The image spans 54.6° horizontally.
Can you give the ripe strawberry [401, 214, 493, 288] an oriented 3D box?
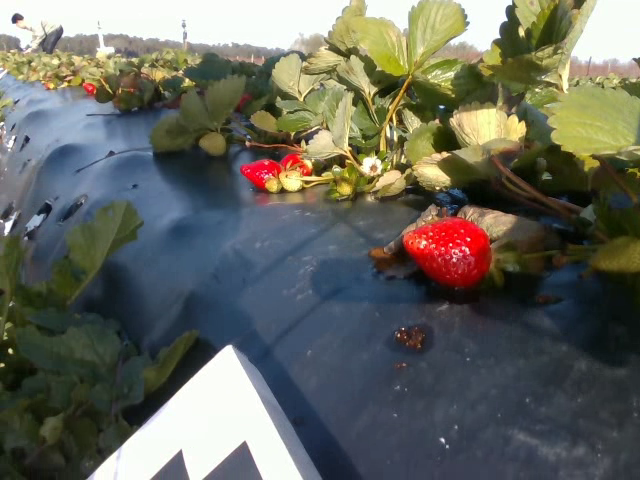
[{"bbox_3d":[0.051,0.005,0.282,0.054,0.038,0.047,6,31,-11],"label":"ripe strawberry"}]
